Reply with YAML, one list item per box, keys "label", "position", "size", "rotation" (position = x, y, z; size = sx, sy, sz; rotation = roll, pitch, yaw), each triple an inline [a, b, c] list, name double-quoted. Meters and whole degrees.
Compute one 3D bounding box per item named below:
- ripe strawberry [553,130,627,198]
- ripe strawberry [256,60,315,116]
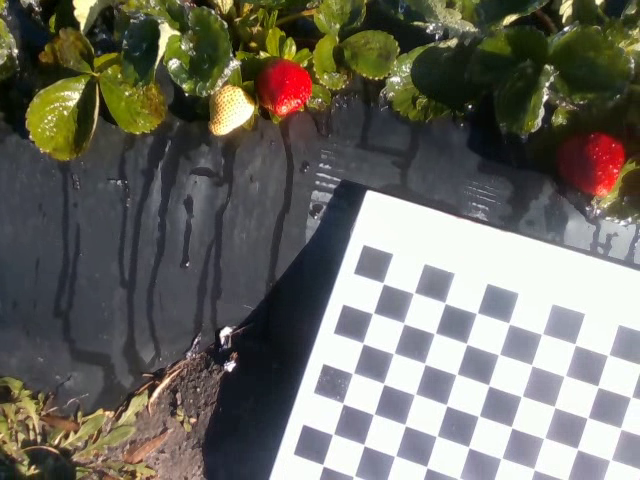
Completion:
- label: "ripe strawberry"
  position: [0.192, -0.048, 0.404]
  size: [0.048, 0.061, 0.044]
  rotation: [12, -35, 6]
- label: "ripe strawberry"
  position: [-0.027, -0.107, 0.433]
  size: [0.043, 0.046, 0.061]
  rotation: [4, 45, 5]
